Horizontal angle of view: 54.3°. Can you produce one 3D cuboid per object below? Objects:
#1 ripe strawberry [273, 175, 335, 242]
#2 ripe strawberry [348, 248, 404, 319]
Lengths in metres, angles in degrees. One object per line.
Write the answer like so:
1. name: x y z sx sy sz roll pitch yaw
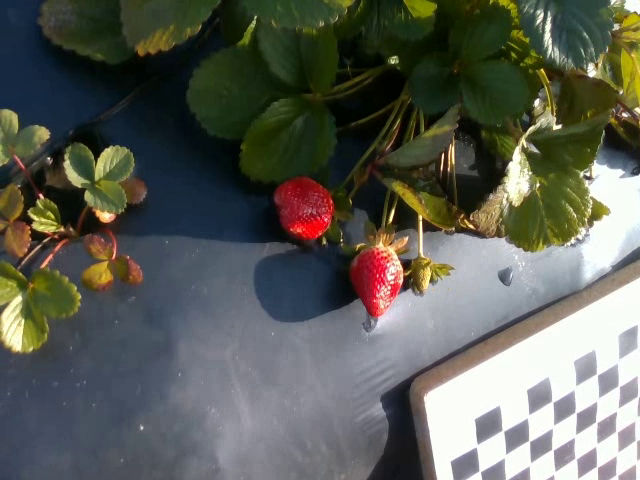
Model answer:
1. ripe strawberry: -0.011 -0.020 0.412 0.039 0.048 0.054 12 15 38
2. ripe strawberry: 0.040 0.028 0.410 0.043 0.053 0.038 27 -41 -30
